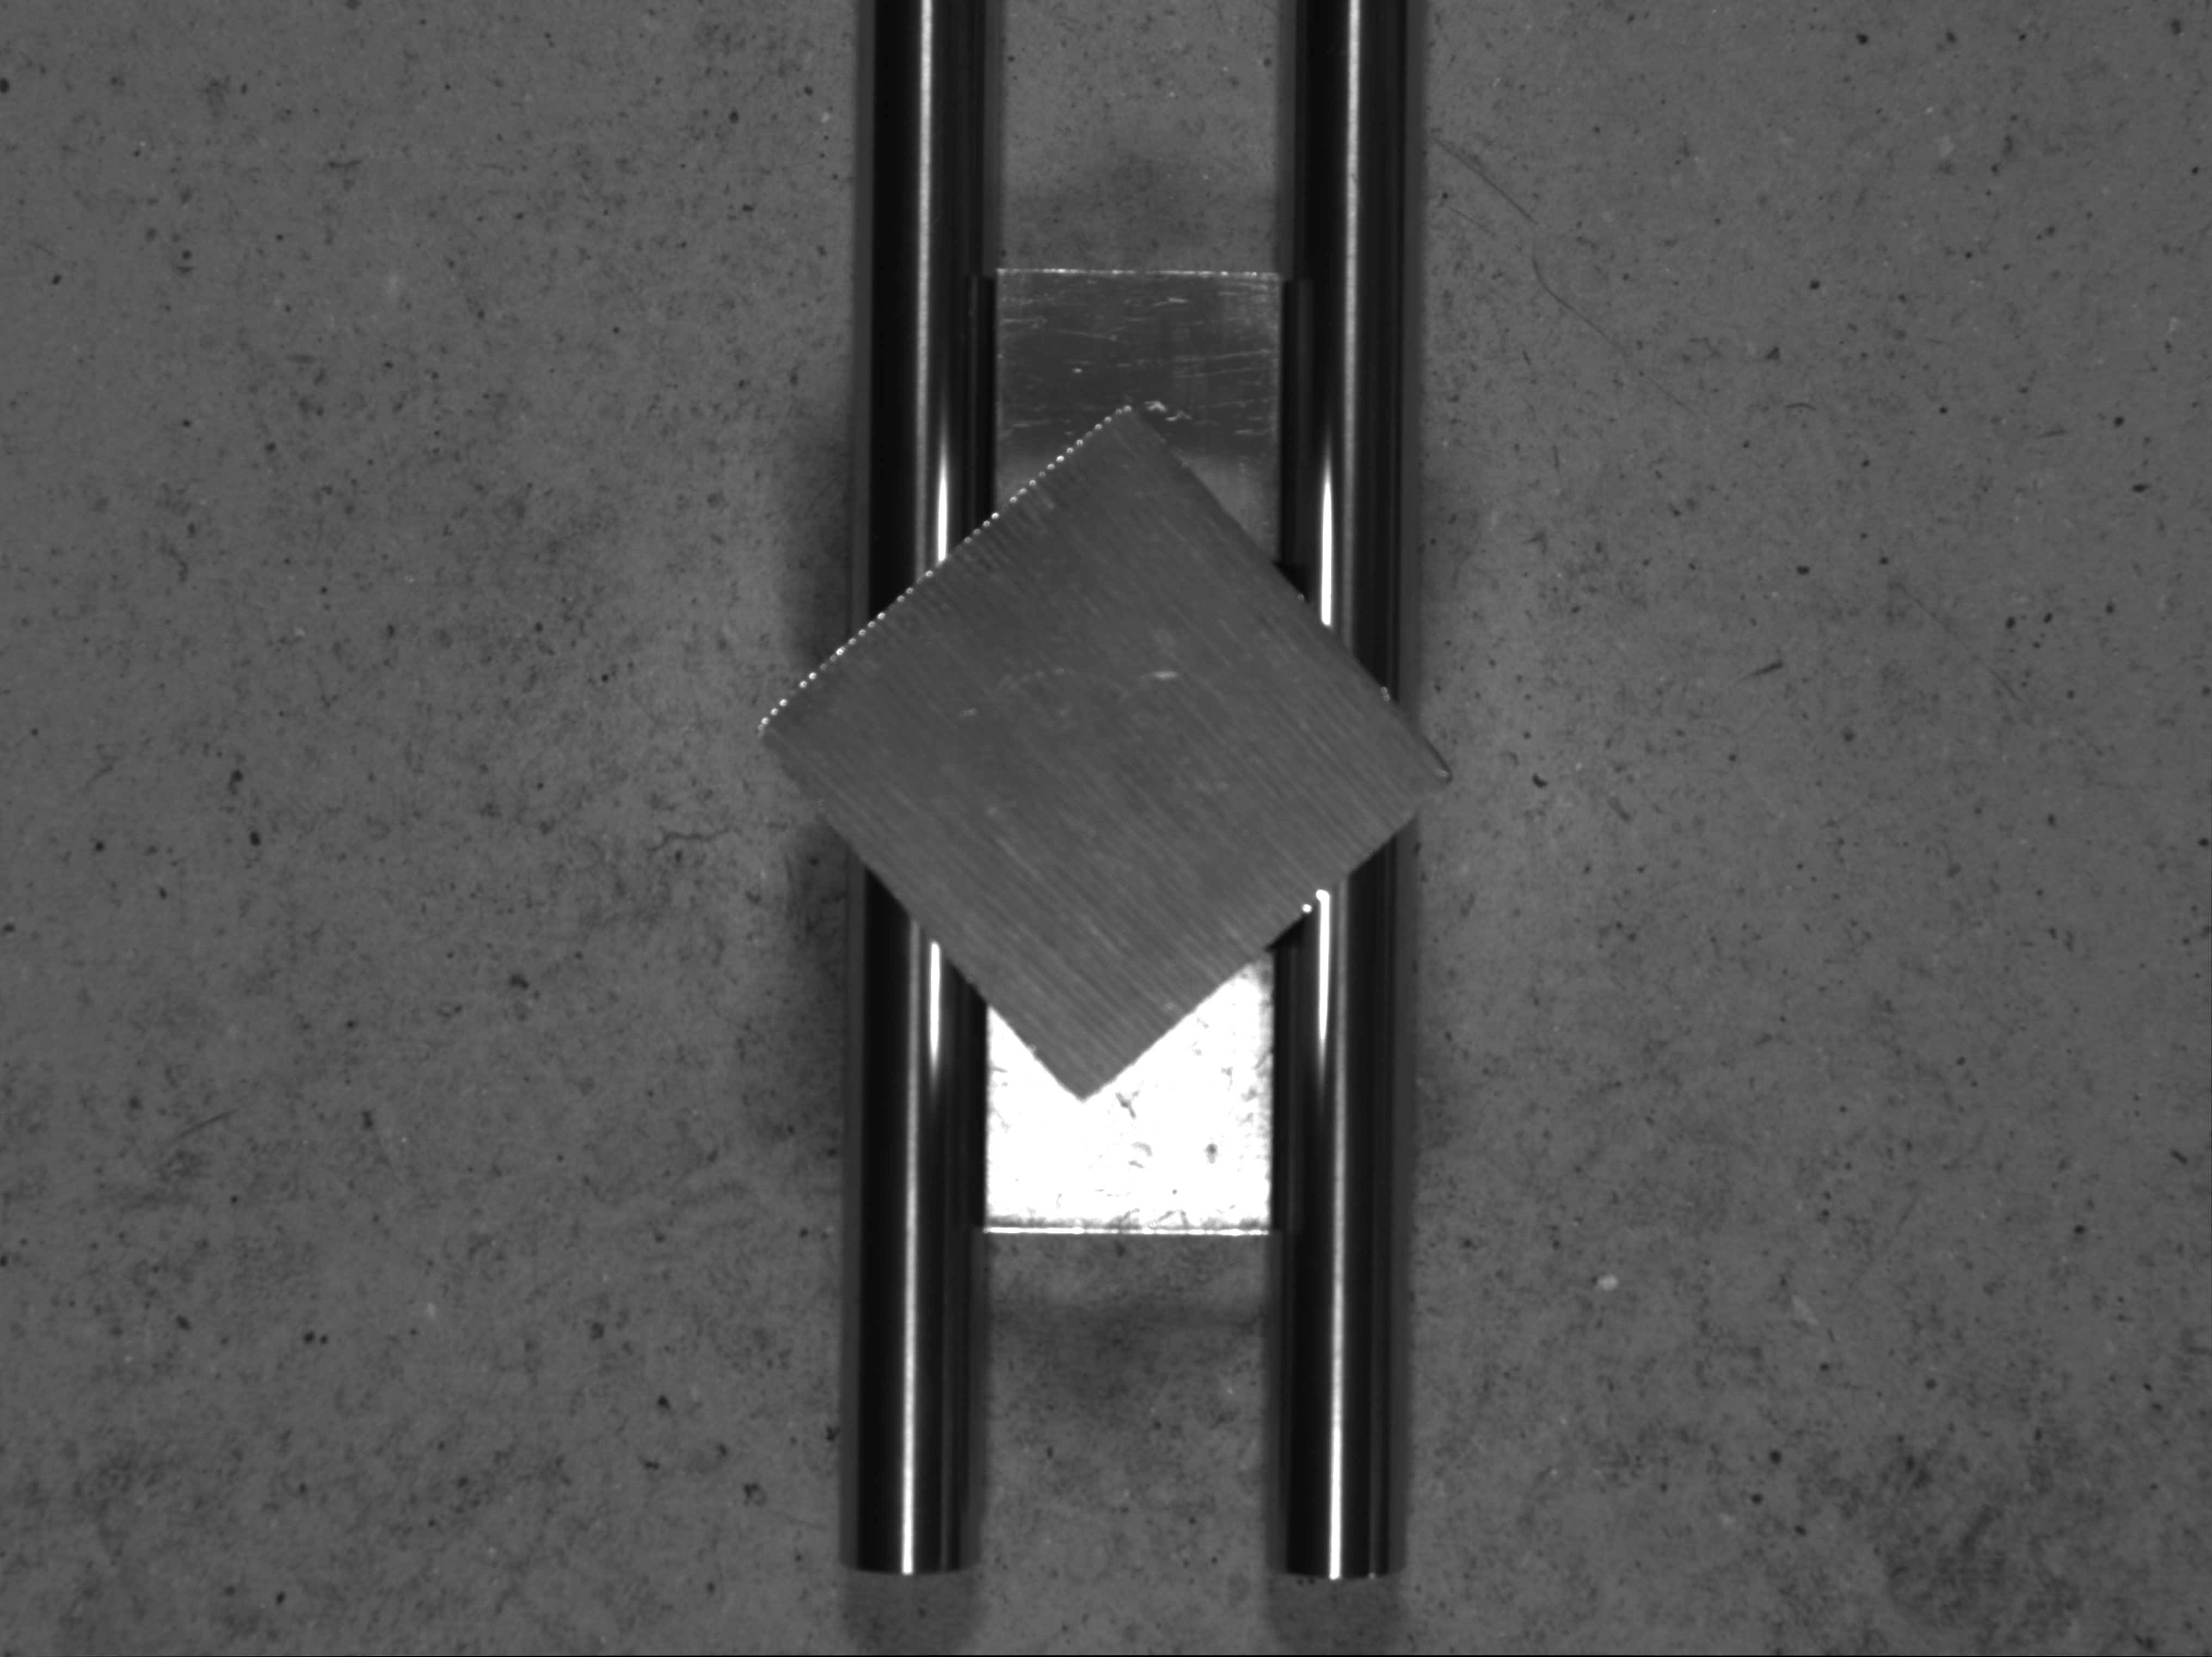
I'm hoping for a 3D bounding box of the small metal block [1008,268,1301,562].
[{"bbox_3d":[0.008,-0.071,0.644,0.050,0.025,0.050,1,90,0],"label":"small metal block"}]

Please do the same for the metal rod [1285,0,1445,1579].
[{"bbox_3d":[0.046,-0.020,0.646,0.025,0.025,0.300,1,90,0],"label":"metal rod"}]

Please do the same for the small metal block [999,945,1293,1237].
[{"bbox_3d":[0.007,0.045,0.644,0.050,0.025,0.050,1,90,0],"label":"small metal block"}]

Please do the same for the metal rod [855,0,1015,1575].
[{"bbox_3d":[-0.030,-0.021,0.646,0.025,0.025,0.300,1,90,0],"label":"metal rod"}]

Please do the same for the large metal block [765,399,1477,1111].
[{"bbox_3d":[0.002,-0.012,0.606,0.080,0.050,0.080,-41,90,0],"label":"large metal block"}]
